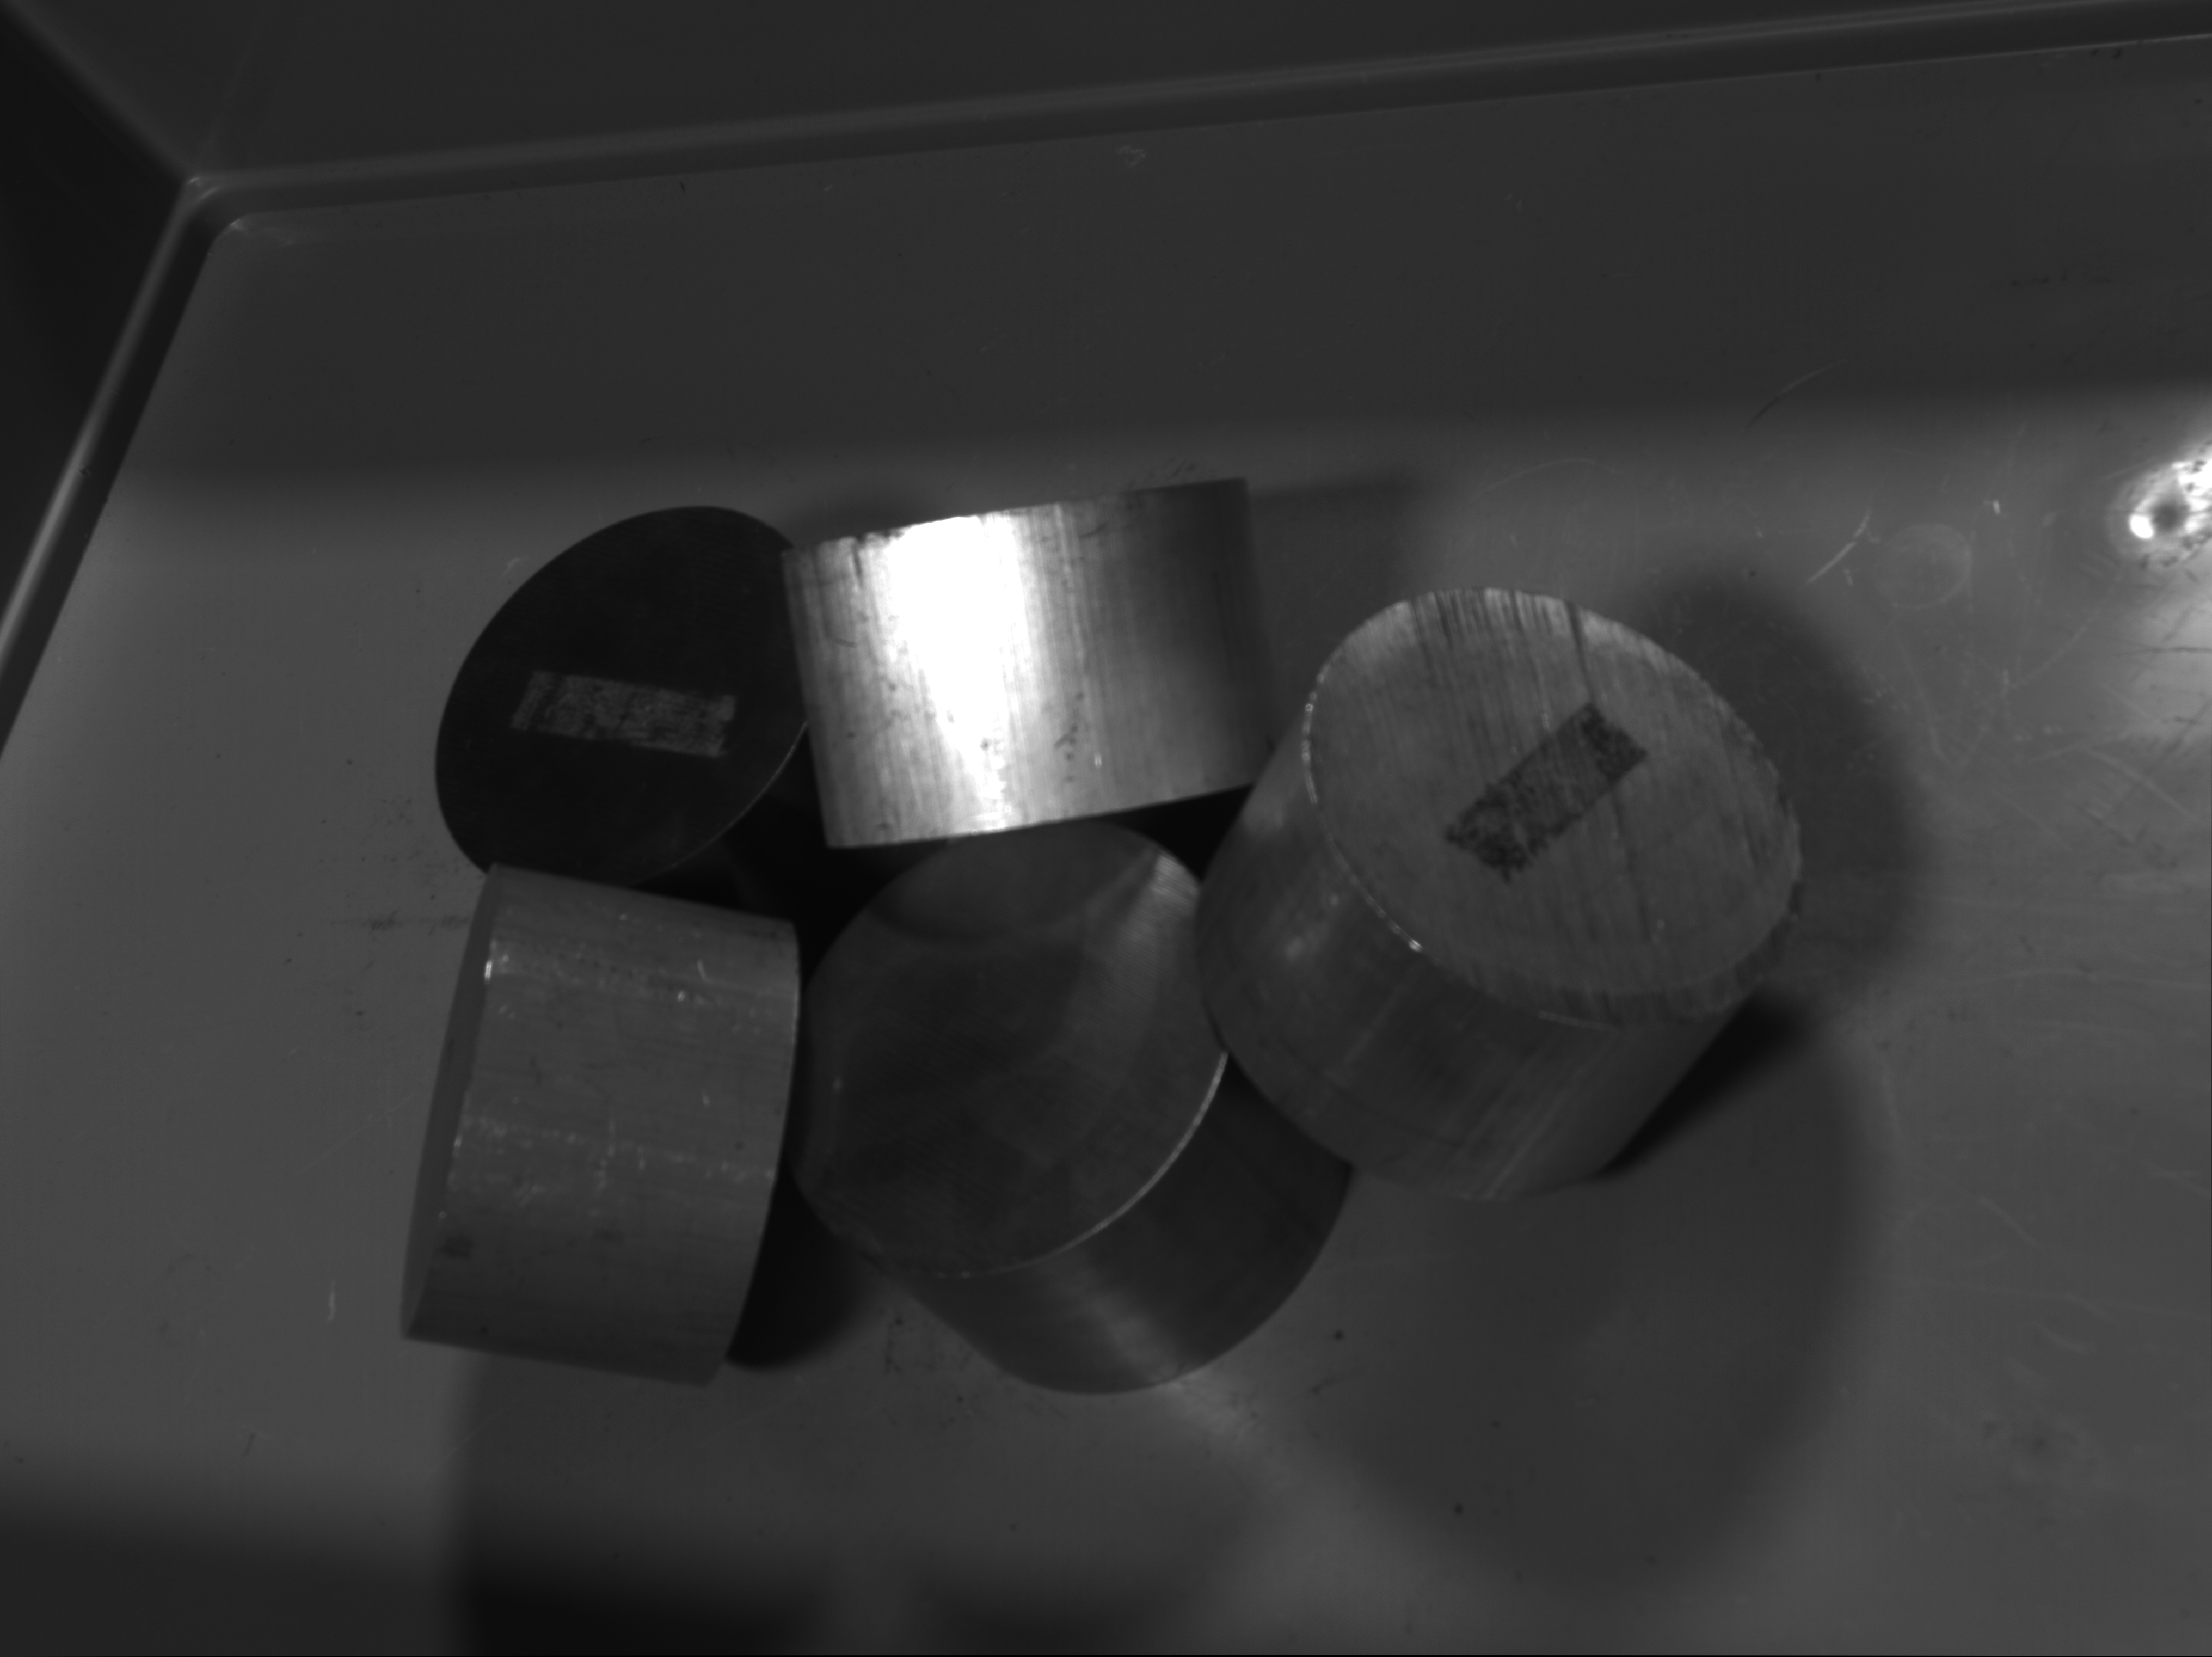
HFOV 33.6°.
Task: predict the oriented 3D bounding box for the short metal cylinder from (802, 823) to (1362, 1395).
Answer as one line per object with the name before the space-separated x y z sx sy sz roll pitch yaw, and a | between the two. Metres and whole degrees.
short metal cylinder | -0.004 0.046 0.600 0.080 0.050 0.080 -13 56 21

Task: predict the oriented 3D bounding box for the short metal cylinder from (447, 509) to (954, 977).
short metal cylinder | -0.073 -0.011 0.672 0.080 0.050 0.080 -13 56 21

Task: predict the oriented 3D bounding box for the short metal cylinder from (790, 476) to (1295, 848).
short metal cylinder | -0.010 -0.028 0.620 0.080 0.080 0.050 -8 94 24

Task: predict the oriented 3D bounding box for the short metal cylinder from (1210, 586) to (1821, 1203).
short metal cylinder | 0.062 0.010 0.561 0.080 0.050 0.080 11 52 -14

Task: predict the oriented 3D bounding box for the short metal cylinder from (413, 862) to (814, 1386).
short metal cylinder | -0.083 0.050 0.613 0.050 0.080 0.080 11 59 -13
